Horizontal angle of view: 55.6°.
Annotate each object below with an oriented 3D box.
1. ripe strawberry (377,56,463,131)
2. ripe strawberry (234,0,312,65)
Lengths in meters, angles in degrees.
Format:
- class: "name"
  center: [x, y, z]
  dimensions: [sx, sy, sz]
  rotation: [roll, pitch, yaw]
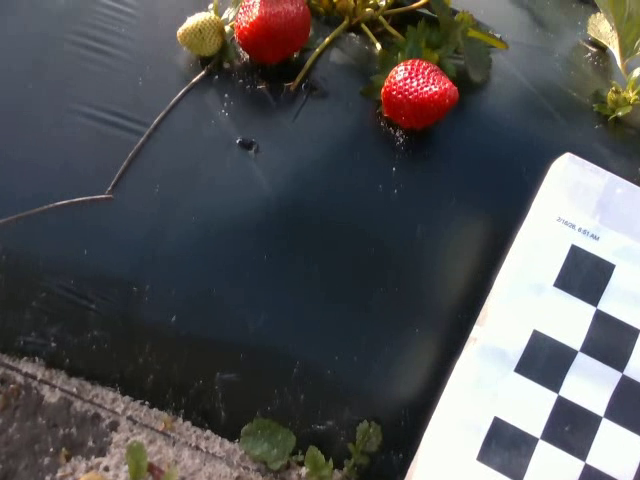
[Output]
- class: "ripe strawberry"
  center: [0.044, -0.061, 0.239]
  dimensions: [0.033, 0.038, 0.039]
  rotation: [35, 8, -14]
- class: "ripe strawberry"
  center: [-0.020, -0.089, 0.241]
  dimensions: [0.035, 0.041, 0.036]
  rotation: [10, 20, 8]
